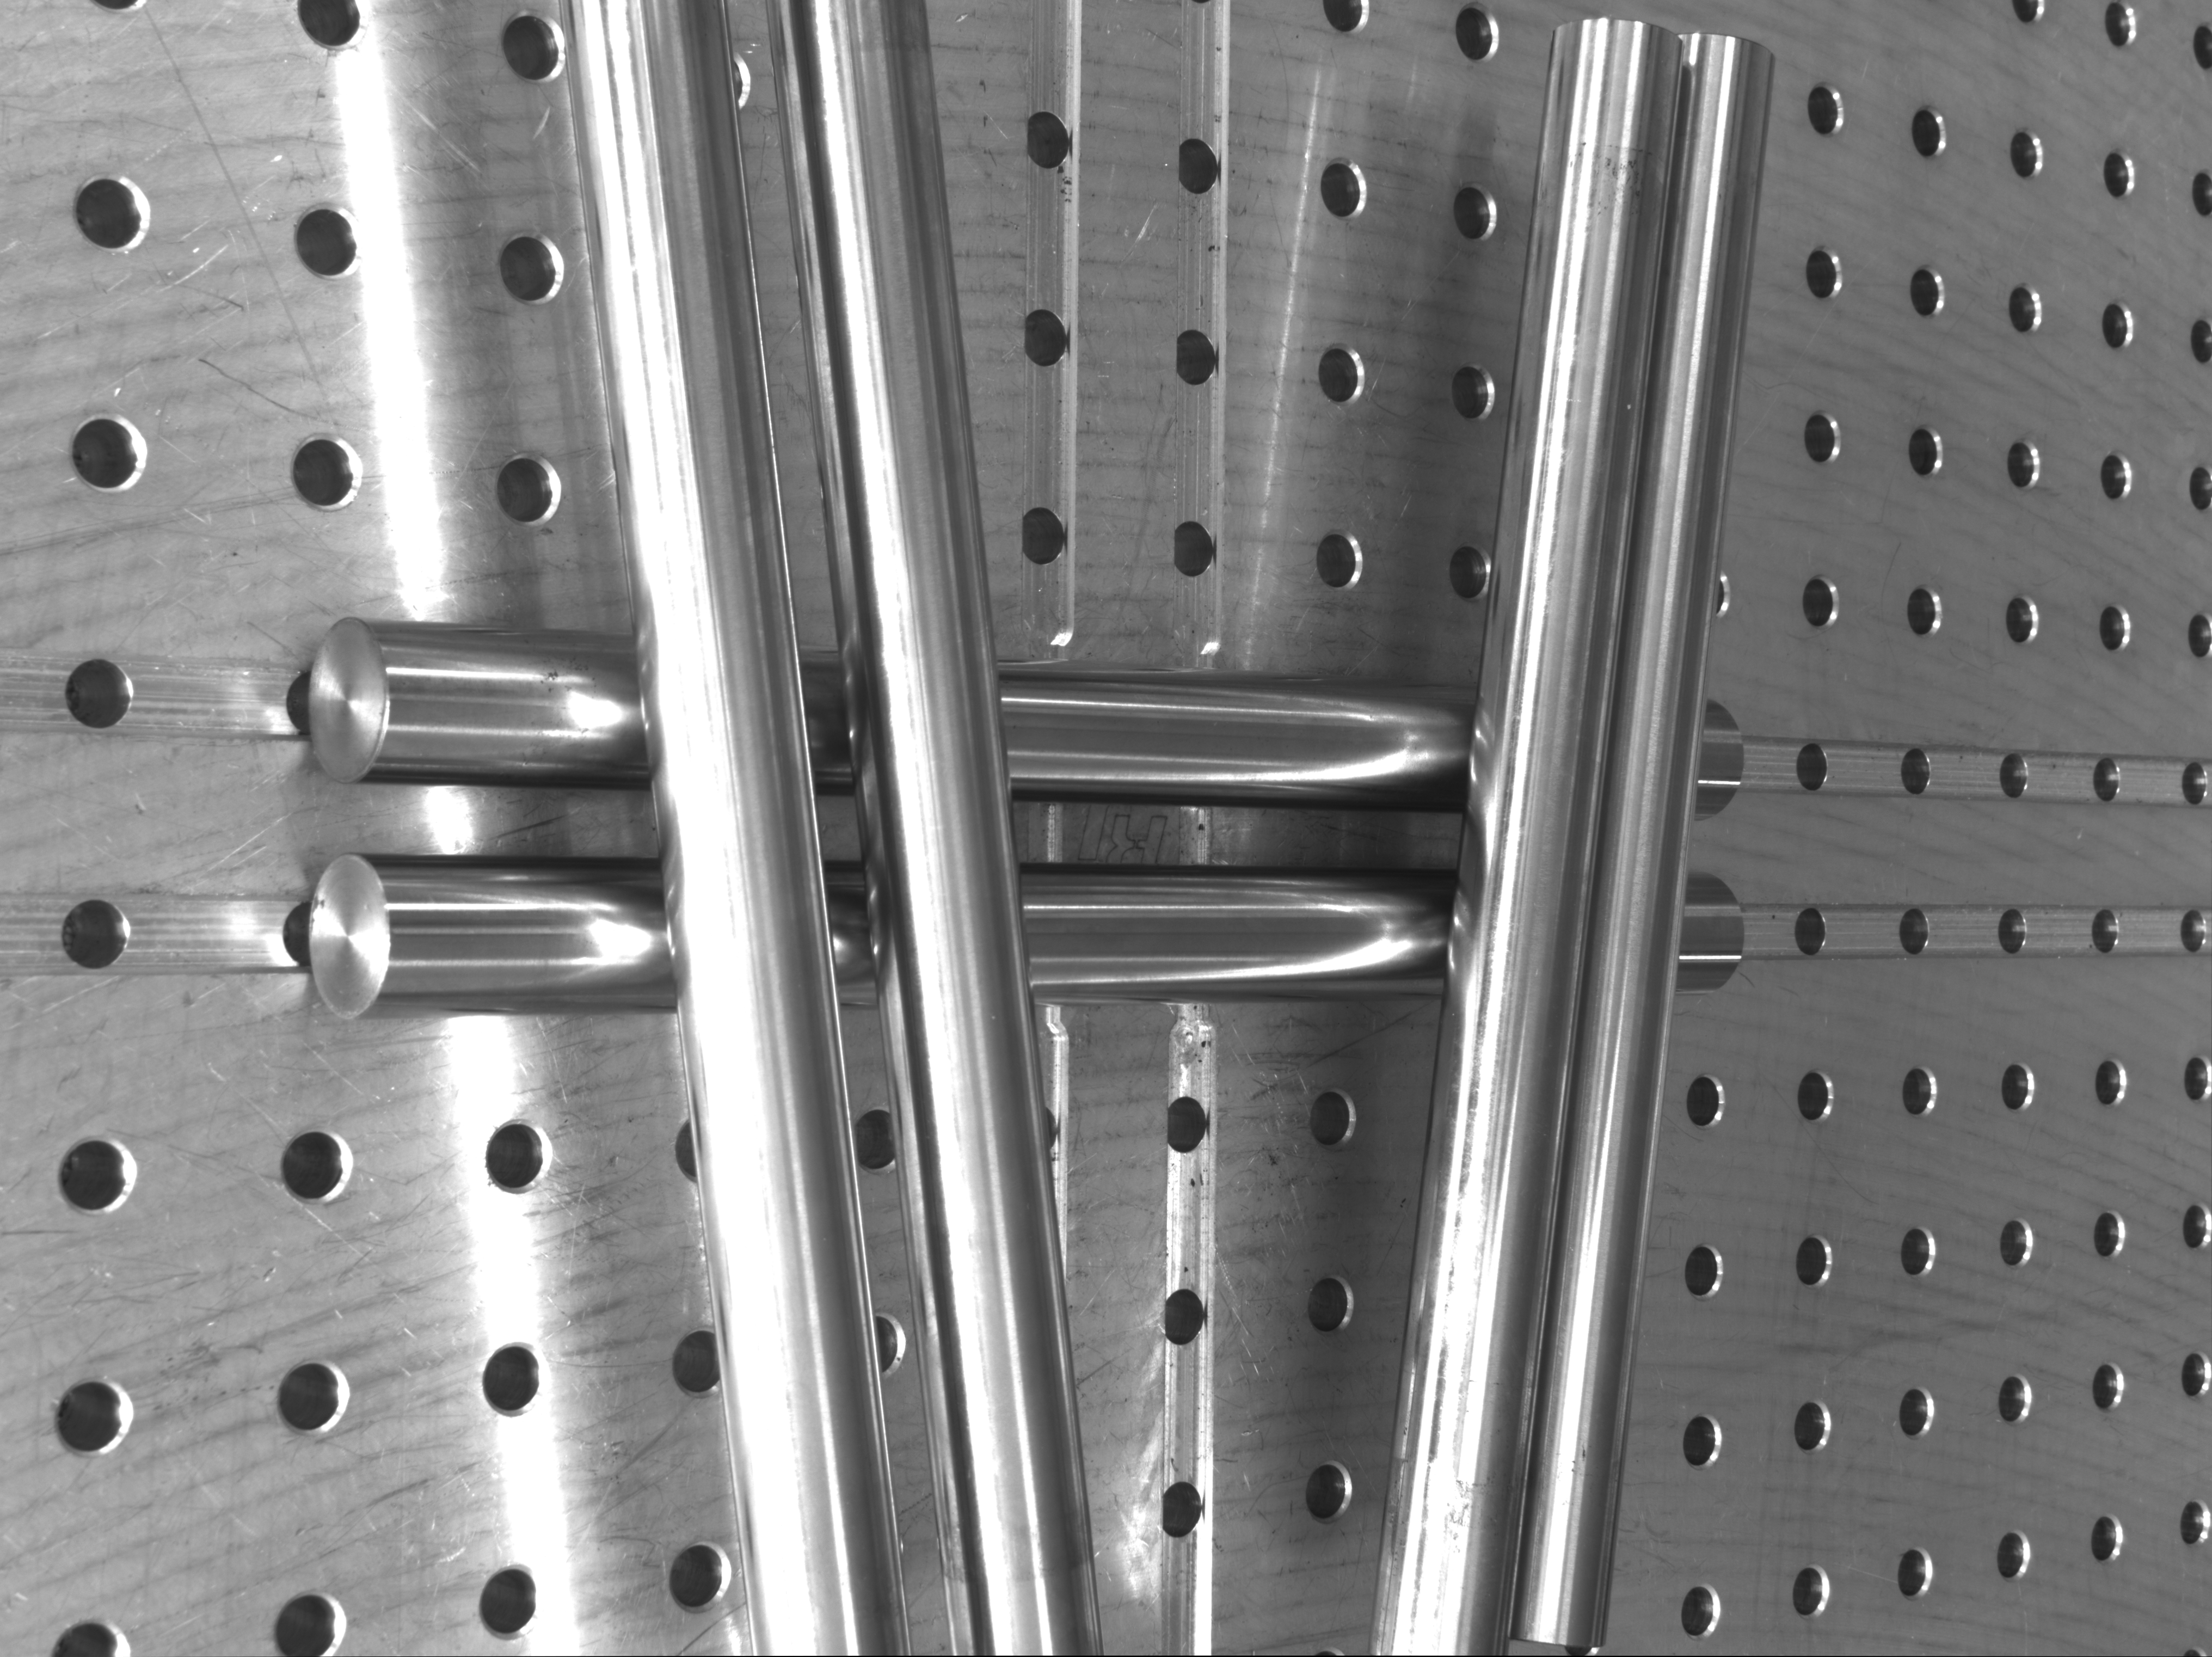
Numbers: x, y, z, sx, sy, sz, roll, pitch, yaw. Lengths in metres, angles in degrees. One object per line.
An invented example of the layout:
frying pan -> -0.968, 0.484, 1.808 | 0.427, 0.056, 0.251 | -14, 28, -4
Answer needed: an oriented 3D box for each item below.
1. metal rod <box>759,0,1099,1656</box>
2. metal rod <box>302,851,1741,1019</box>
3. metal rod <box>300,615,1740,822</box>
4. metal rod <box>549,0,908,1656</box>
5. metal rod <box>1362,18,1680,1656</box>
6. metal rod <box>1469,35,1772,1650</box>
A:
metal rod -> -0.028, -0.005, 0.584 | 0.025, 0.025, 0.300 | -10, 96, -39
metal rod -> 0.002, 0.019, 0.642 | 0.301, 0.025, 0.025 | 1, 89, -40
metal rod -> 0.002, -0.016, 0.642 | 0.301, 0.025, 0.025 | 1, 89, -40
metal rod -> -0.057, -0.003, 0.560 | 0.025, 0.025, 0.300 | -10, 97, -39
metal rod -> 0.077, 0.001, 0.671 | 0.025, 0.025, 0.300 | 12, 82, -39
metal rod -> 0.097, 0.000, 0.688 | 0.025, 0.025, 0.300 | 12, 82, -39
